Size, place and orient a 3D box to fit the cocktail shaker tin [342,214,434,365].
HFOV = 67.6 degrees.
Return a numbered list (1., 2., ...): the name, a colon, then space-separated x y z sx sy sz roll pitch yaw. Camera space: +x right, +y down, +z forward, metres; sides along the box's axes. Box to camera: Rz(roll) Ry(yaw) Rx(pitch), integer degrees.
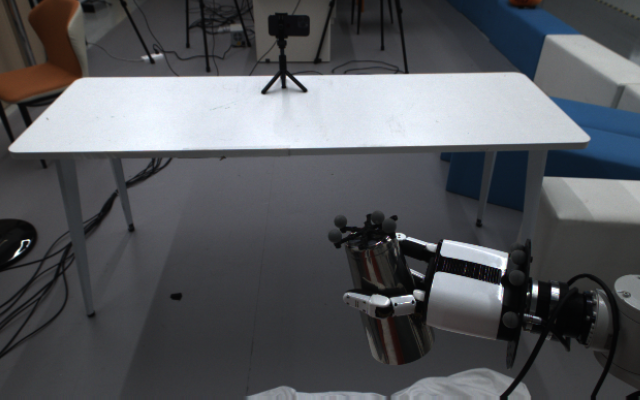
1. cocktail shaker tin: 0.088 0.121 0.641 0.093 0.170 0.093 -17 20 6
